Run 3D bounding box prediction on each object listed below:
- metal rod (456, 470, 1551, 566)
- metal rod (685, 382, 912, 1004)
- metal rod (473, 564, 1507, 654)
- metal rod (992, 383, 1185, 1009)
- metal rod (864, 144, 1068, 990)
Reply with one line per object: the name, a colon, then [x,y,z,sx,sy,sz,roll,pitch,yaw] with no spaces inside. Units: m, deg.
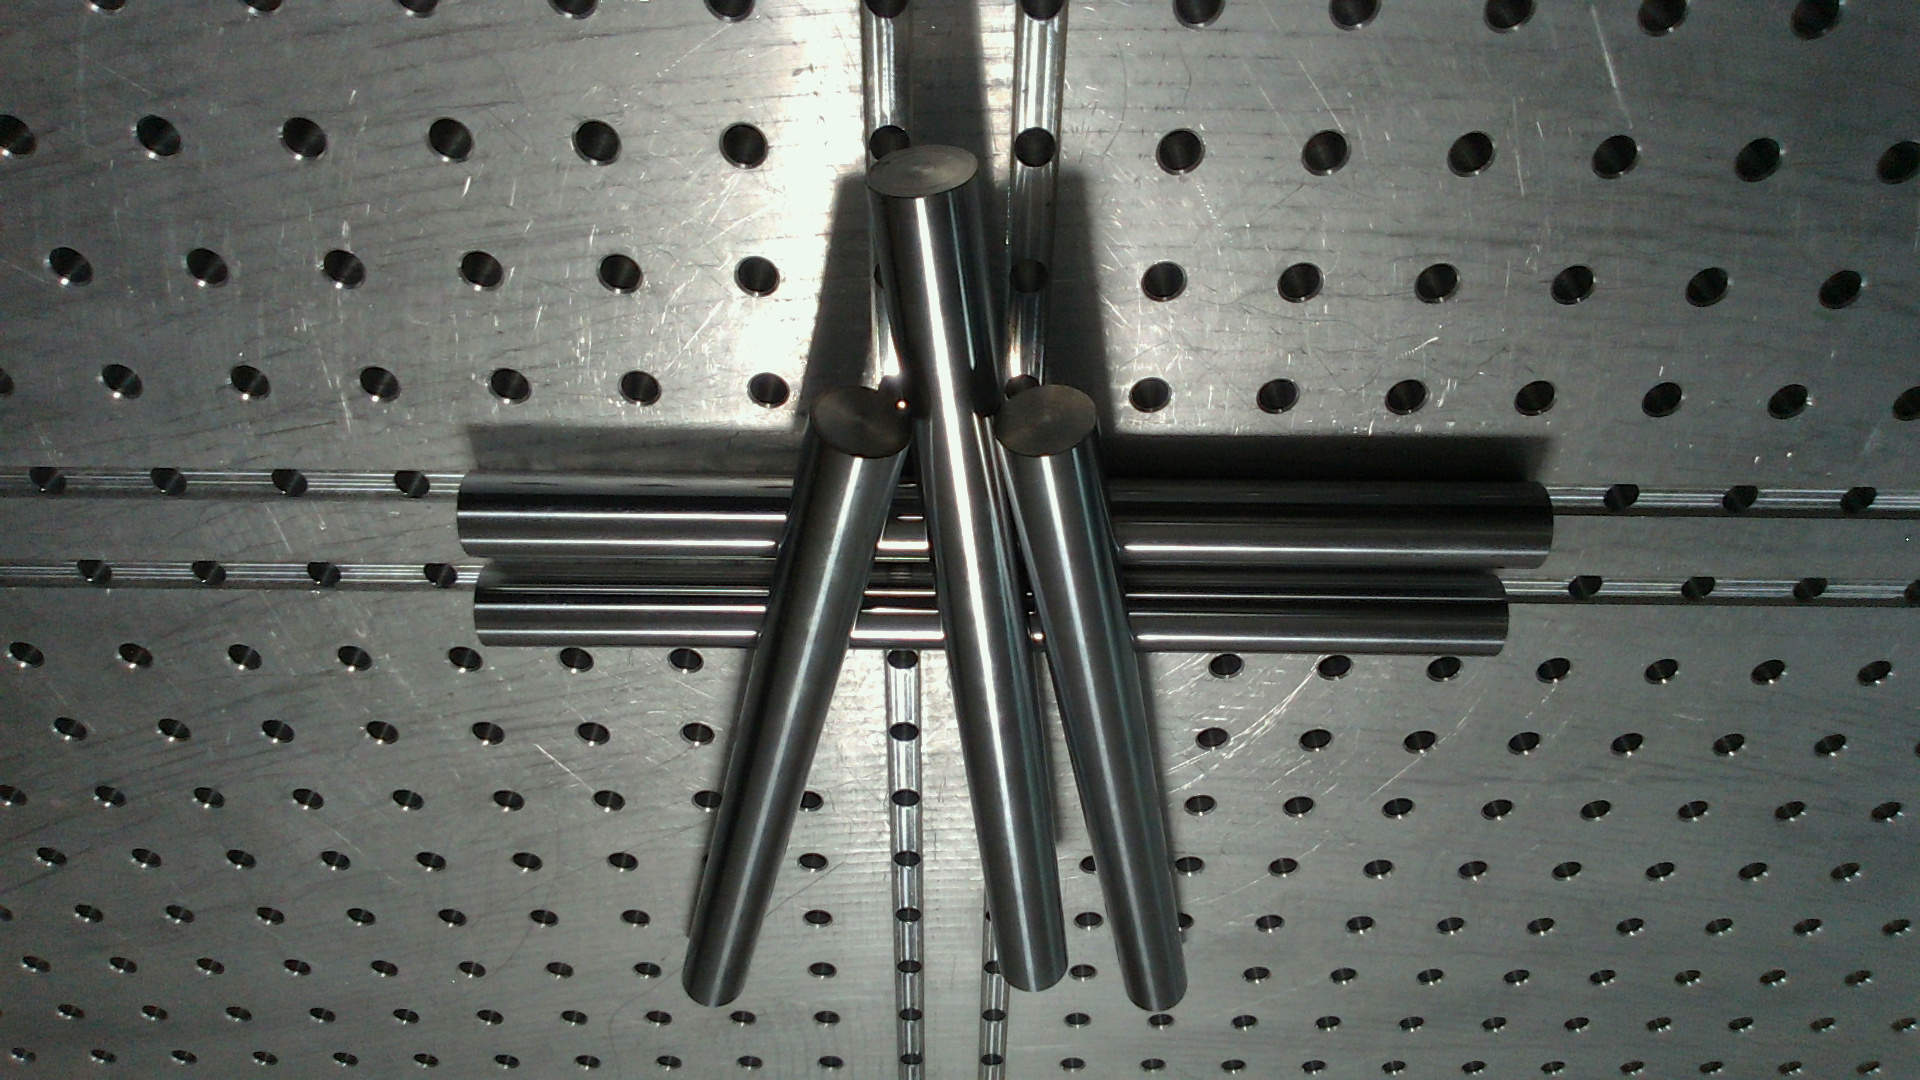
metal rod: [0.013,-0.006,0.389,0.300,0.025,0.025,0,130,-1]
metal rod: [-0.059,0.070,0.428,0.025,0.025,0.300,11,136,-9]
metal rod: [0.009,0.021,0.411,0.300,0.025,0.025,0,130,-1]
metal rod: [0.048,0.072,0.430,0.025,0.025,0.300,-8,137,7]
metal rod: [0.009,0.035,0.391,0.025,0.025,0.300,-5,130,4]
